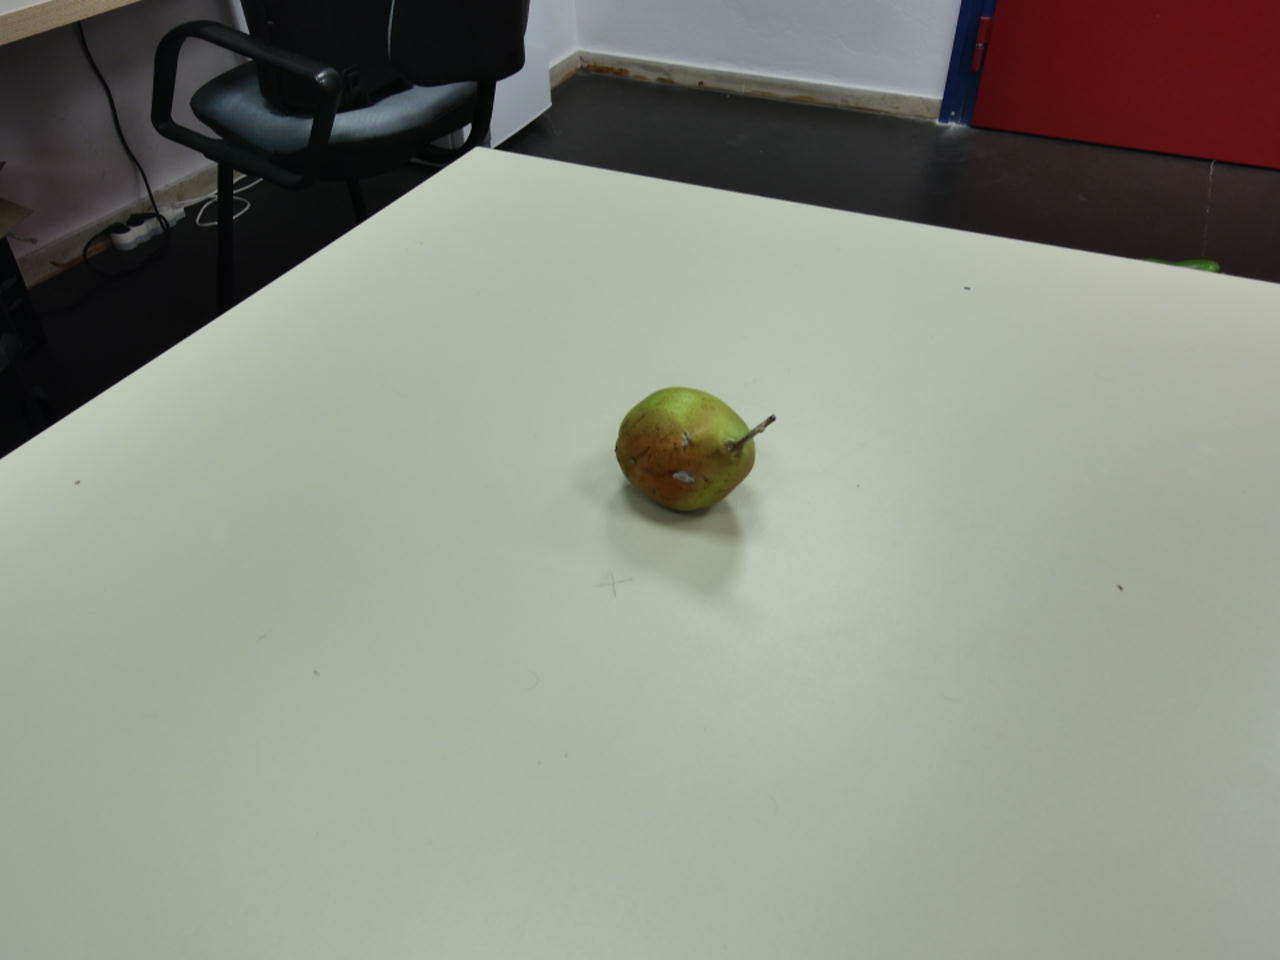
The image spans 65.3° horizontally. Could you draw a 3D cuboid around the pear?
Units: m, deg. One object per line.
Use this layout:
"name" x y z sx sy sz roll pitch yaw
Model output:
"pear" 0.023 -0.018 0.510 0.068 0.069 0.070 -8 39 -10
